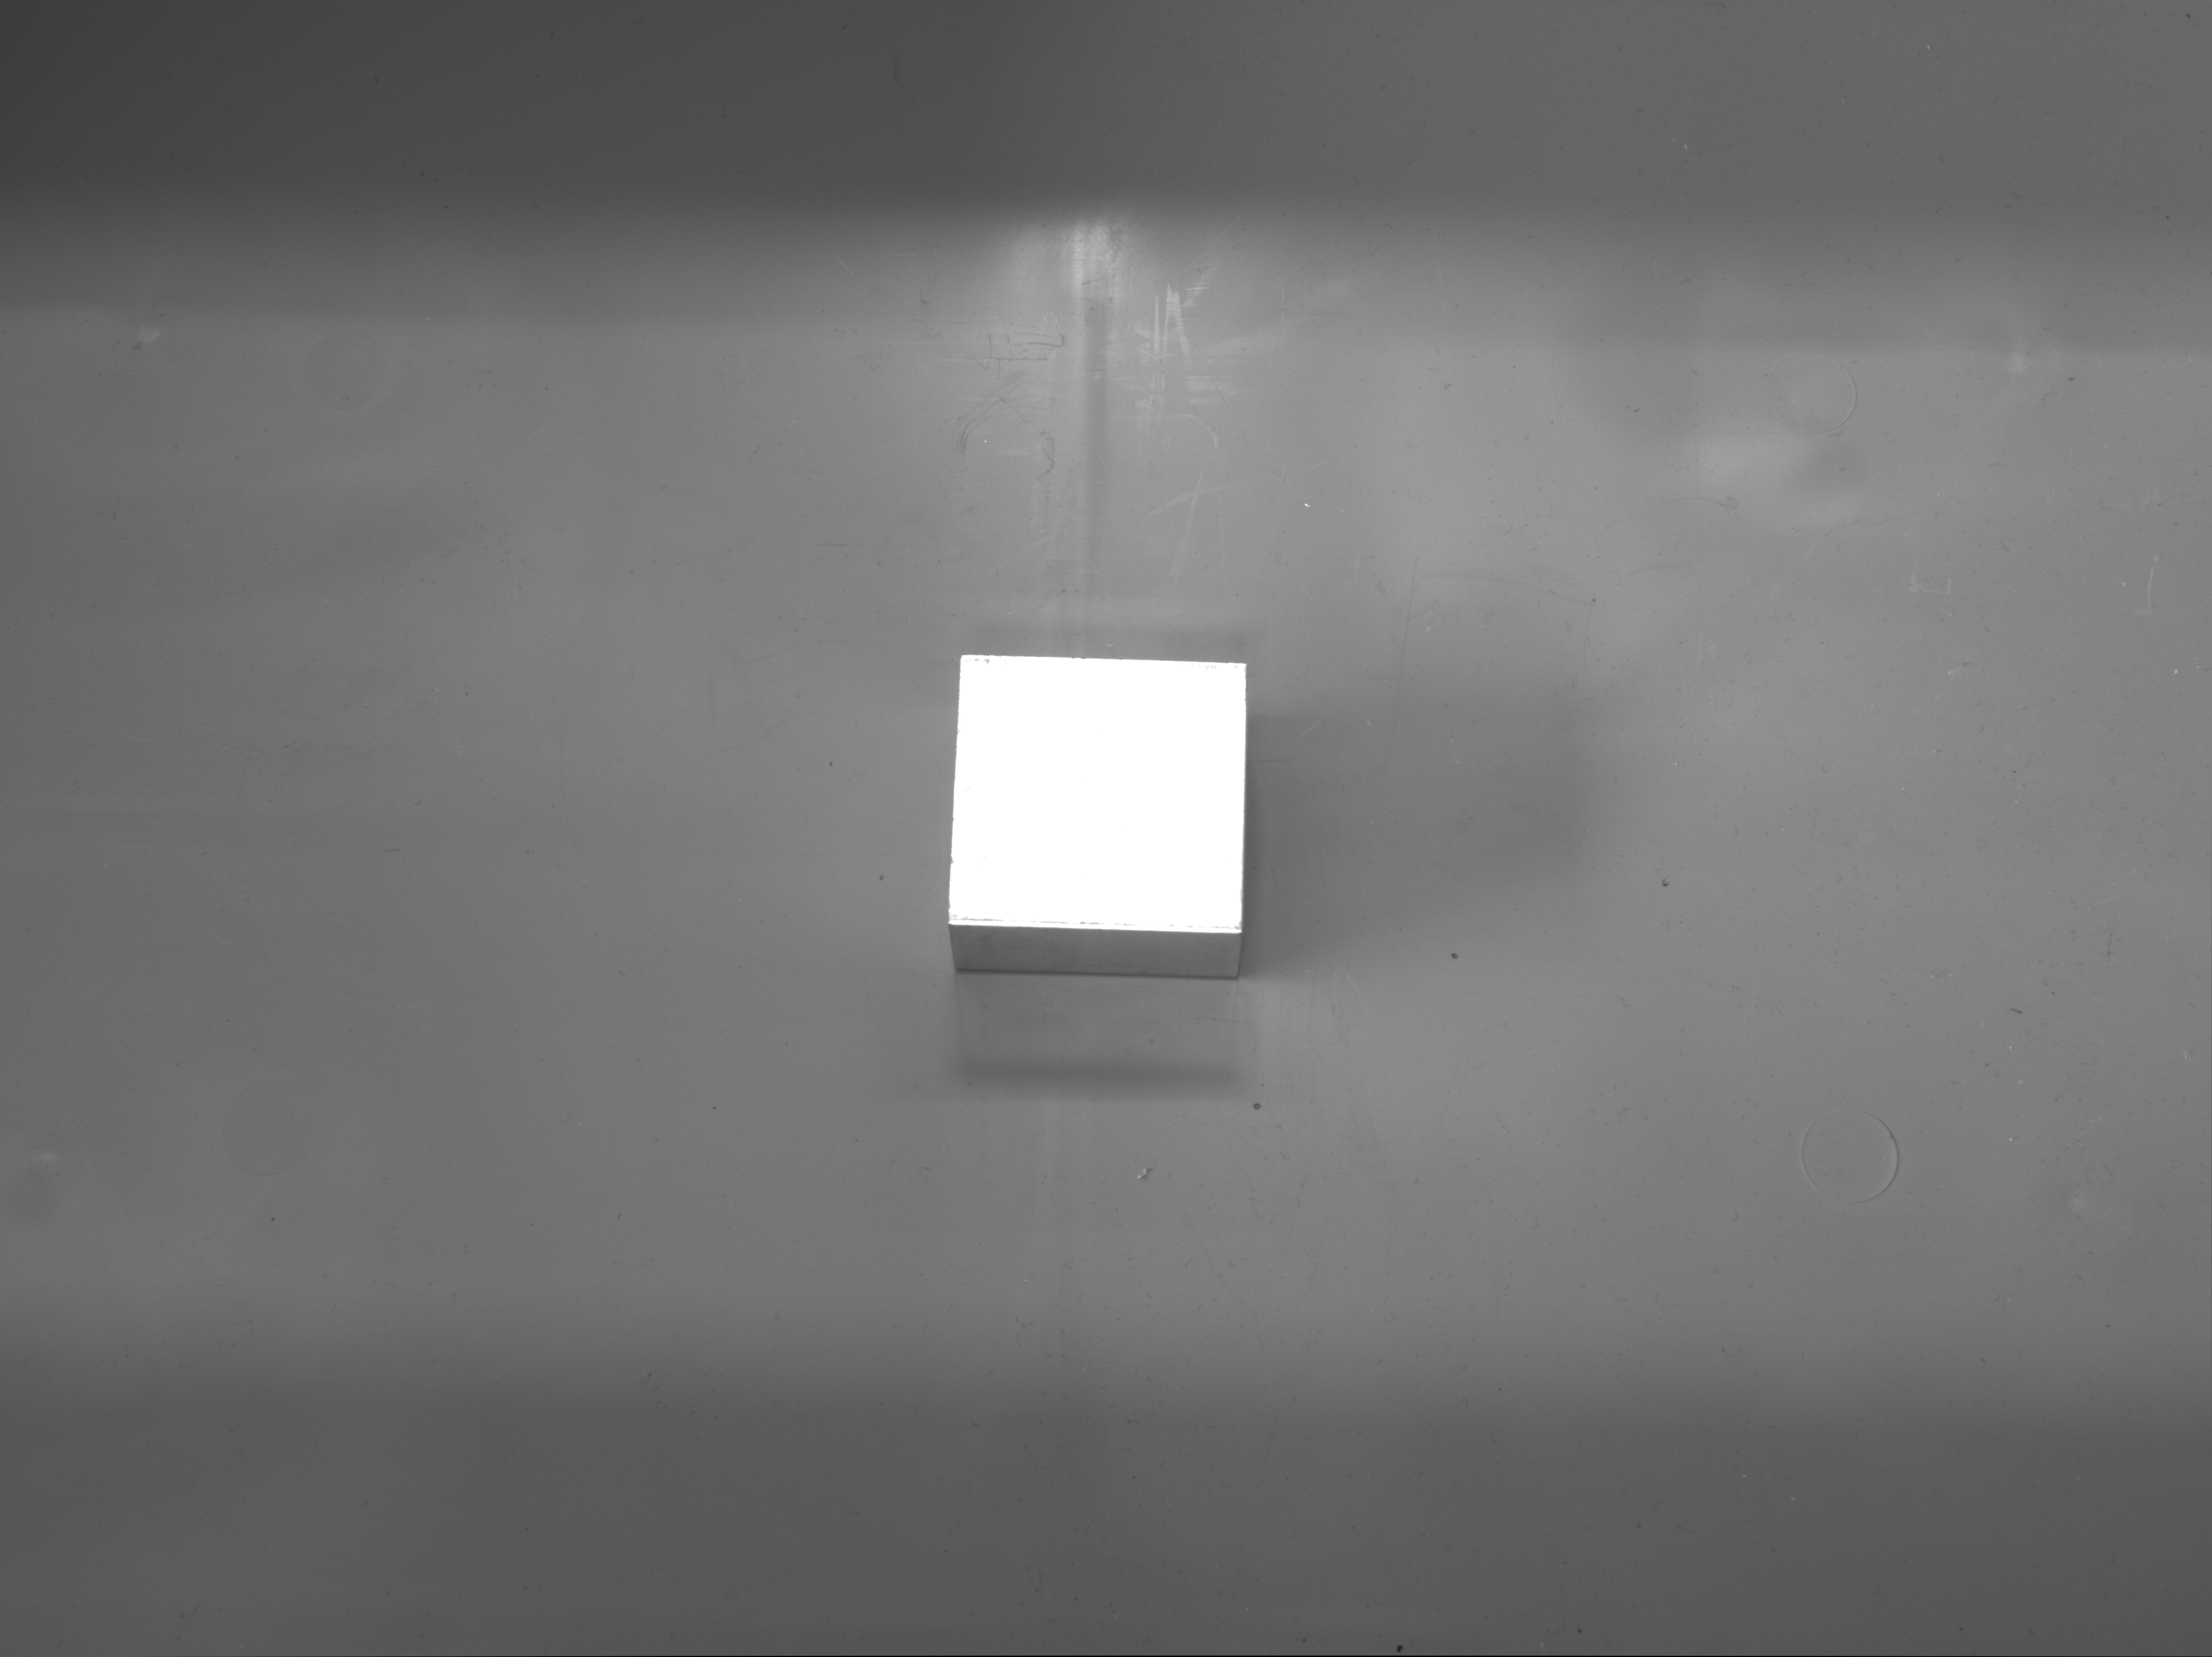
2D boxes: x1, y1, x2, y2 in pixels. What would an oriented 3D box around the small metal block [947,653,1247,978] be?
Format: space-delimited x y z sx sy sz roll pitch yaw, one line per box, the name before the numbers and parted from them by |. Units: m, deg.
small metal block | -0.001 -0.002 0.643 0.050 0.025 0.050 2 70 1
